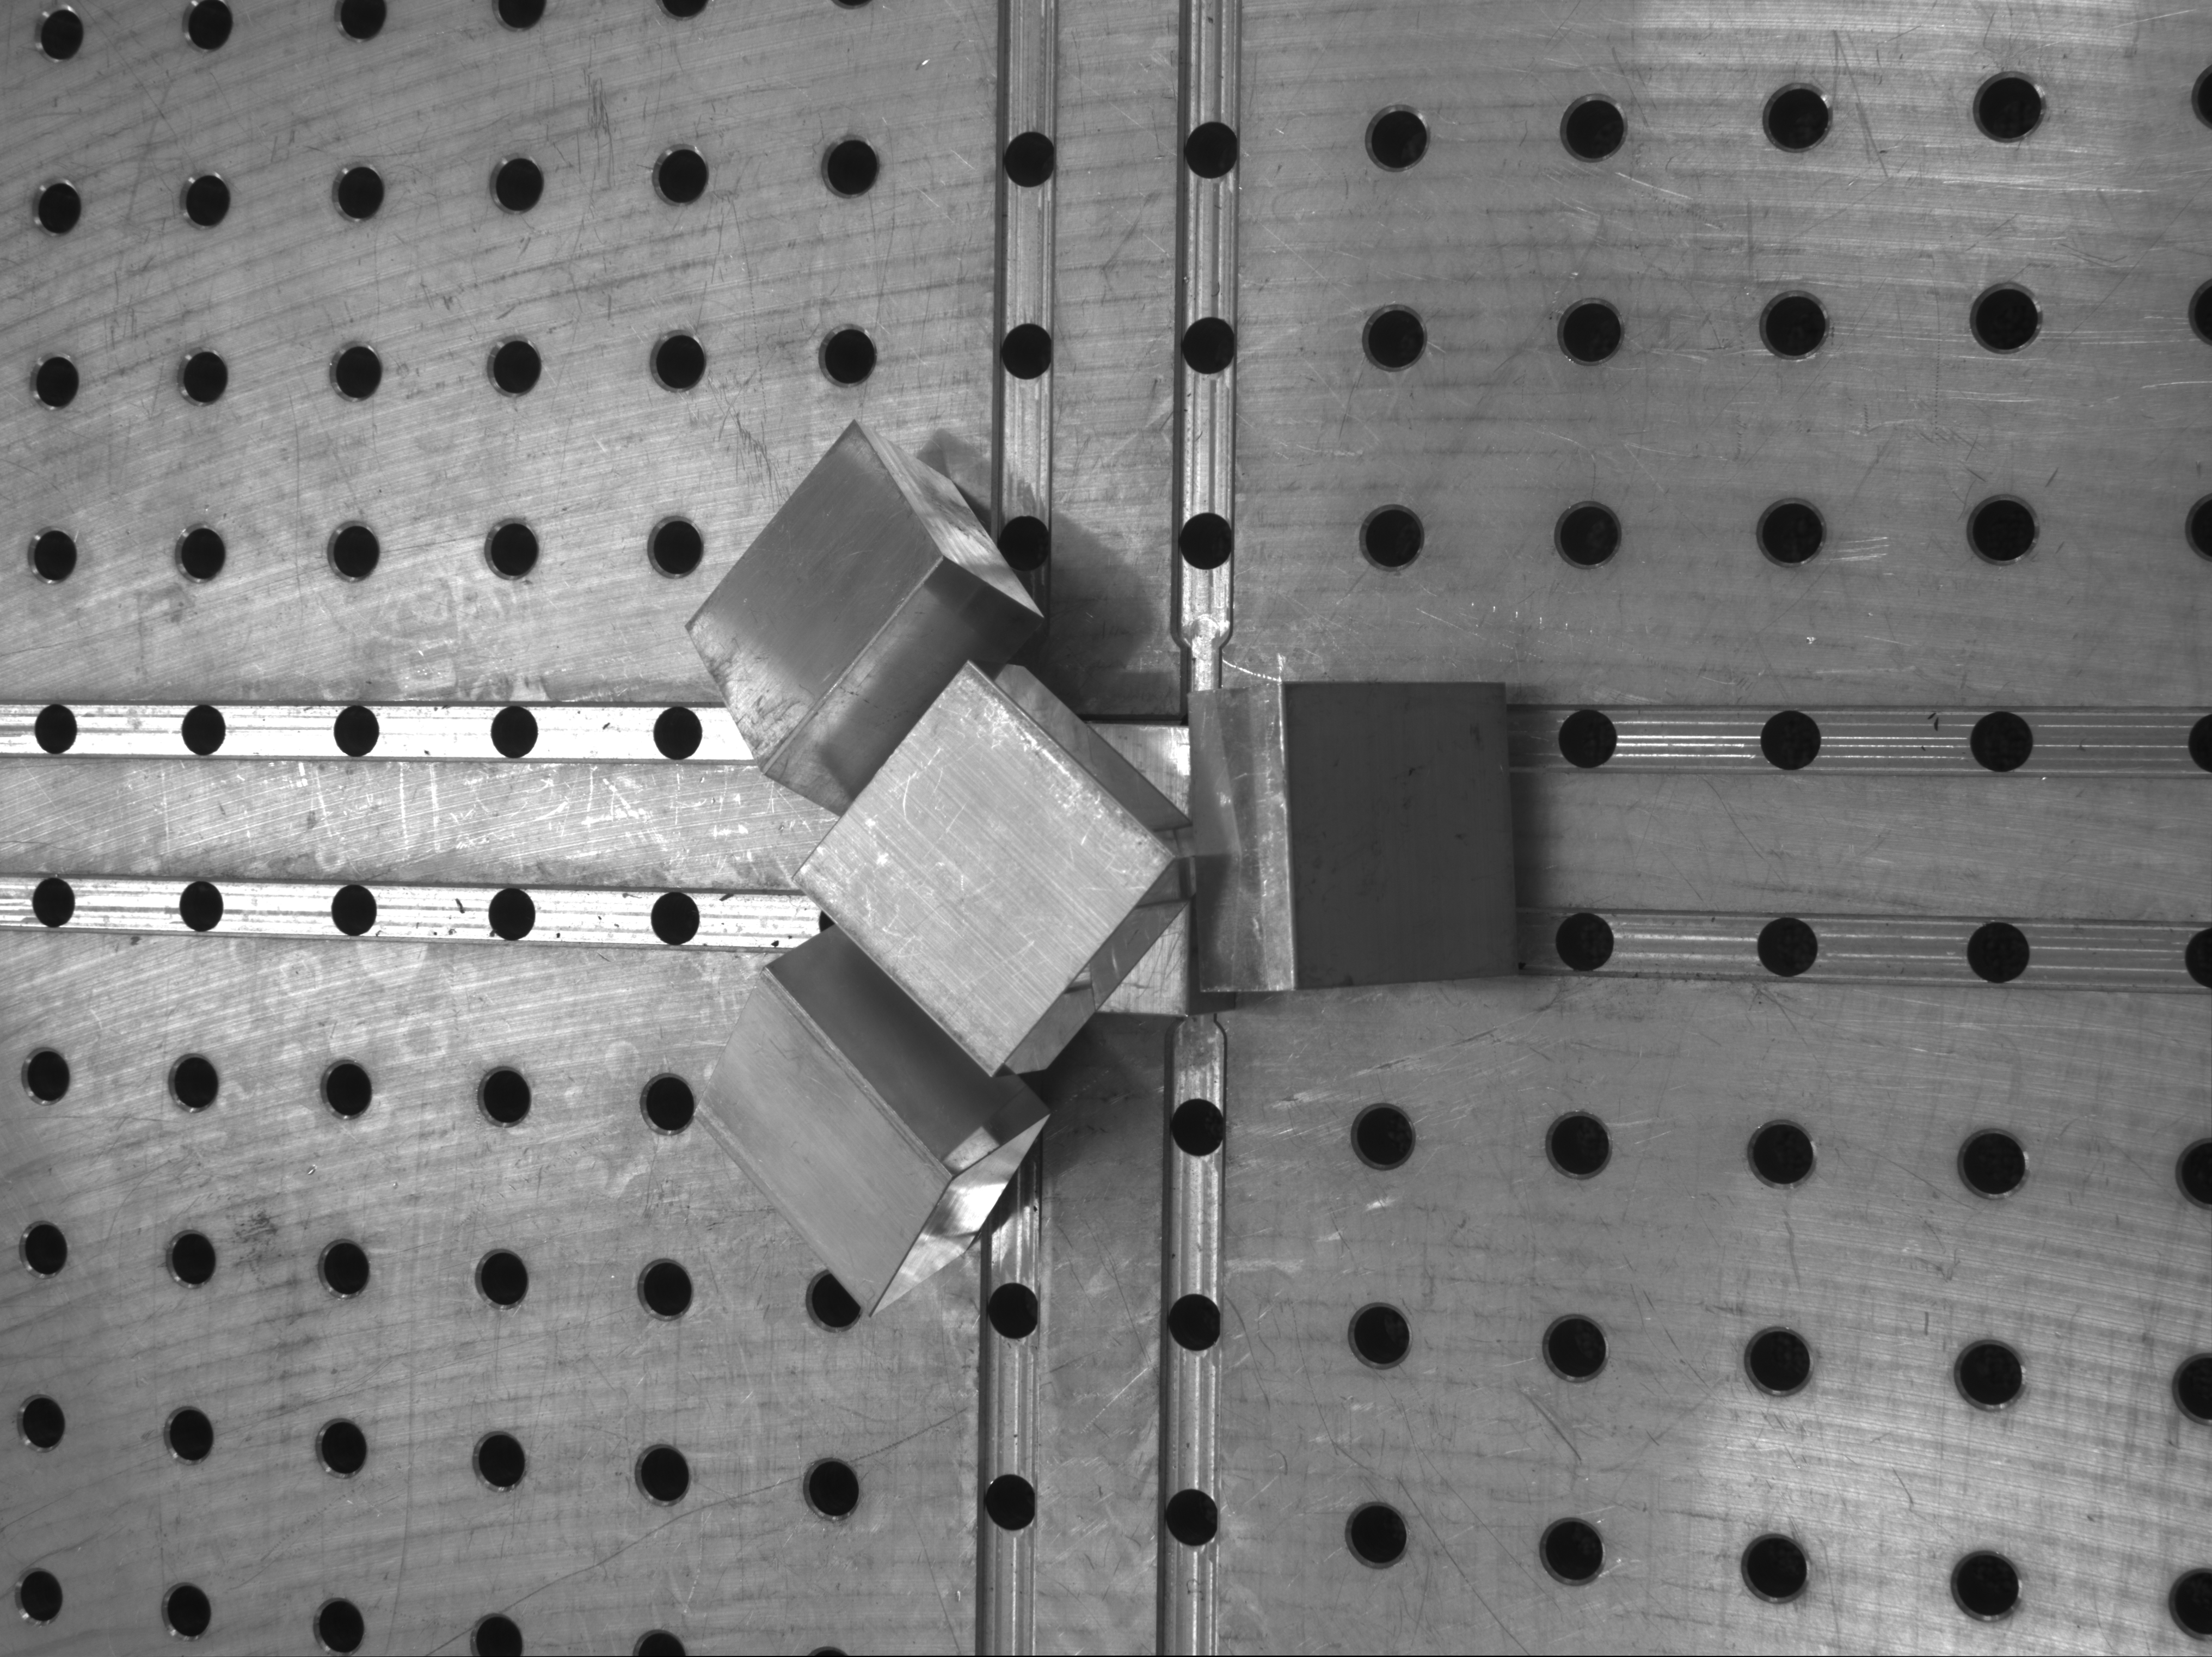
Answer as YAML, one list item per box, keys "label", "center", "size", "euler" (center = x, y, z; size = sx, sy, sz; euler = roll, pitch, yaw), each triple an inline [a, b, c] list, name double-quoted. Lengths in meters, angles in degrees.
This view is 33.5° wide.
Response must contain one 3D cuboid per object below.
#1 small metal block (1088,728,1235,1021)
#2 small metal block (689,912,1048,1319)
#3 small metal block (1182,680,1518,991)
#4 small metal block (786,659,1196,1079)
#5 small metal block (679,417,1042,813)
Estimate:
- label: "small metal block"
  center: [-0.004, 0.007, 0.651]
  size: [0.050, 0.025, 0.050]
  euler: [2, 93, 20]
- label: "small metal block"
  center: [-0.043, 0.051, 0.651]
  size: [0.050, 0.025, 0.050]
  euler: [47, 142, 14]
- label: "small metal block"
  center: [0.041, 0.001, 0.618]
  size: [0.025, 0.050, 0.050]
  euler: [-4, 88, 53]
- label: "small metal block"
  center: [-0.017, 0.007, 0.629]
  size: [0.050, 0.025, 0.050]
  euler: [43, 103, 15]
- label: "small metal block"
  center: [-0.044, -0.037, 0.652]
  size: [0.050, 0.025, 0.050]
  euler: [-49, 39, 14]
